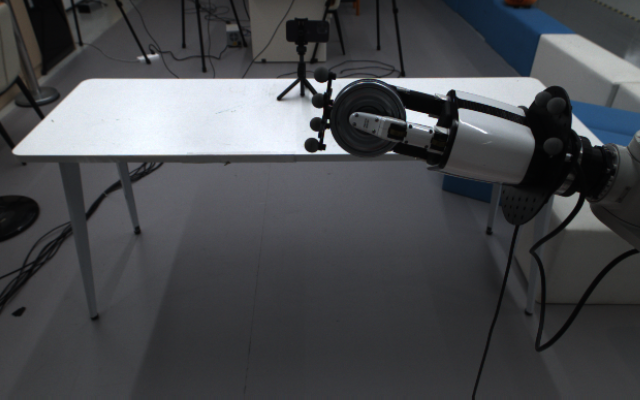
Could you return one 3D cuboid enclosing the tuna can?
[{"bbox_3d":[0.057,-0.089,0.544,0.085,0.085,0.034,4,18,3],"label":"tuna can"}]
